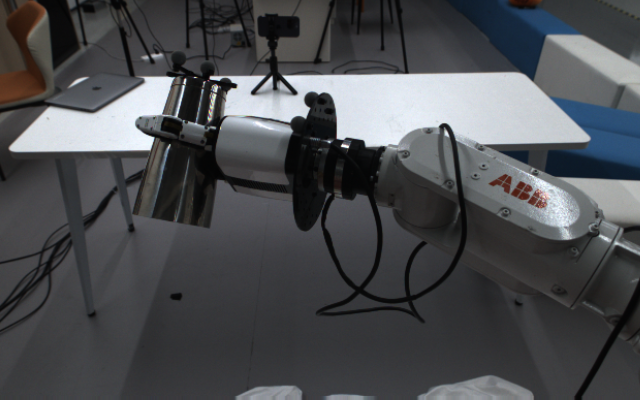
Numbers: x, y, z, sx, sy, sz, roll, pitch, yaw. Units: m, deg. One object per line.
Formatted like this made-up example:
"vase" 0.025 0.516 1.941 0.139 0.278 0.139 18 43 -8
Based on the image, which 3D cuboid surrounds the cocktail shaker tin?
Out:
"cocktail shaker tin" -0.162 -0.056 0.588 0.093 0.170 0.093 10 -5 1
